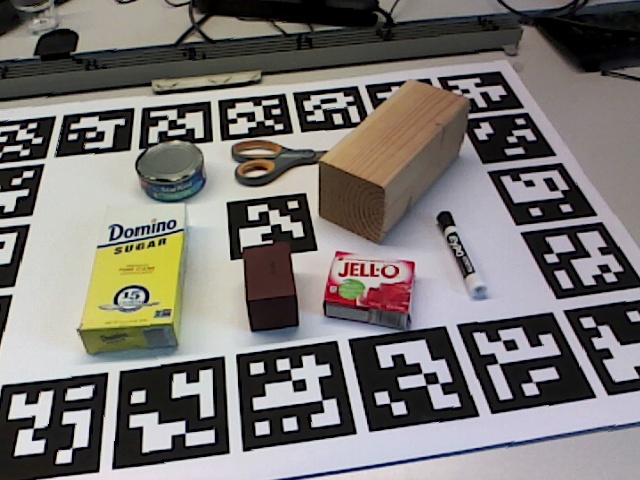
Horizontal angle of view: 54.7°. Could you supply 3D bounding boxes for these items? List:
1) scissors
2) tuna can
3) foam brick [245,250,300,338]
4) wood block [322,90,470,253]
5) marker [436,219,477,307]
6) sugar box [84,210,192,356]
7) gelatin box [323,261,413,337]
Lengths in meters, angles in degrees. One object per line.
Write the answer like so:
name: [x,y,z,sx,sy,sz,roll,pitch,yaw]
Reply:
scissors: [-0.025,-0.101,0.838,0.203,0.016,0.088,-3,47,3]
tuna can: [-0.196,-0.082,0.812,0.086,0.033,0.086,-1,48,1]
foam brick: [-0.051,0.058,0.662,0.053,0.051,0.078,-6,48,-3]
wood block: [0.099,-0.092,0.778,0.090,0.090,0.206,27,53,25]
marker: [0.156,0.022,0.711,0.019,0.019,0.121,-6,49,-3]
sugar box: [-0.198,0.042,0.694,0.093,0.045,0.177,-3,47,-2]
gelatin box: [0.053,0.062,0.674,0.089,0.030,0.073,7,49,9]
